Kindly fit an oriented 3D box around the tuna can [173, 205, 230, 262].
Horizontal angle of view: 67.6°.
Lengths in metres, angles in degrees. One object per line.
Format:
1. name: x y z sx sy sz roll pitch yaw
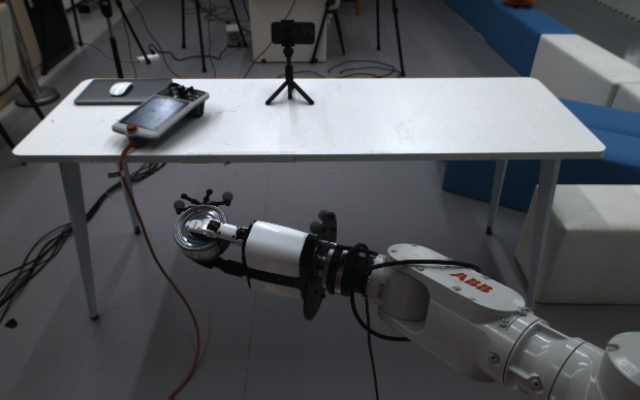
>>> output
1. tuna can: -0.180 0.050 0.749 0.085 0.034 0.085 -3 58 5
